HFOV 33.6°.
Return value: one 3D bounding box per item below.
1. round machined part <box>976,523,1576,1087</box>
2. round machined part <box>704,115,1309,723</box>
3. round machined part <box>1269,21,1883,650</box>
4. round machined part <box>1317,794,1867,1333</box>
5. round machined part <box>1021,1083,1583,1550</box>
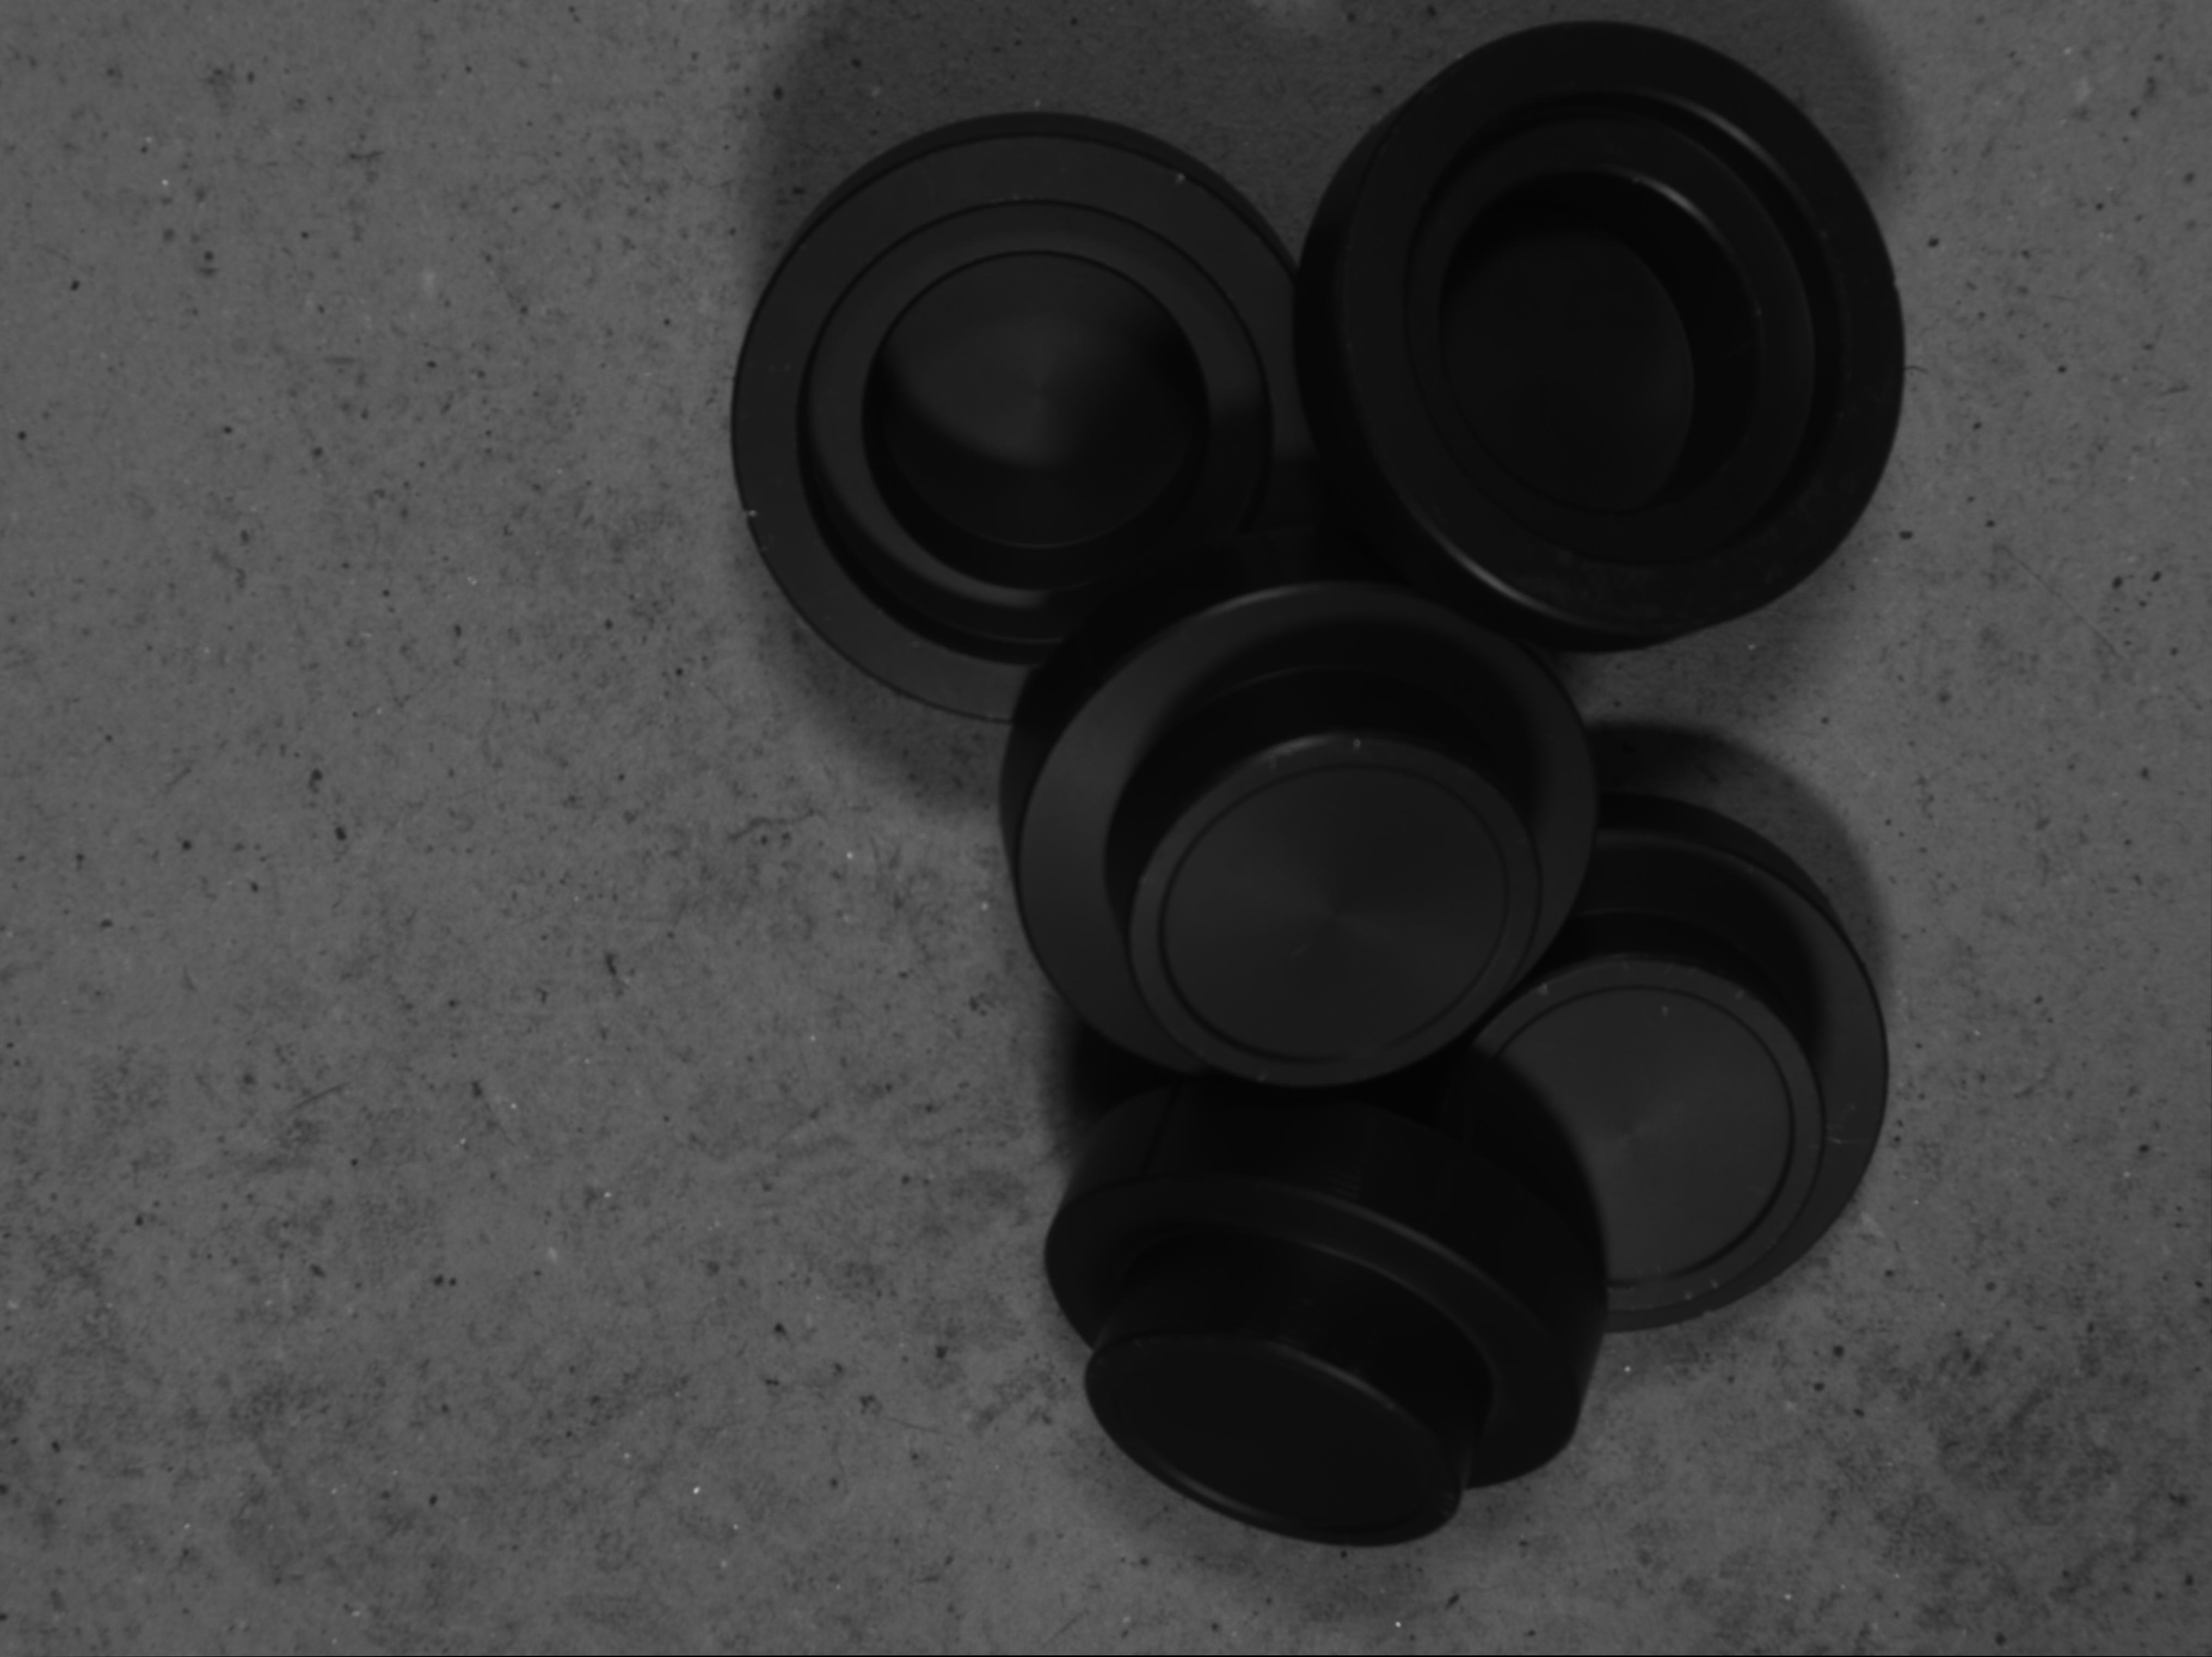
[{"bbox_3d":[0.030,0.003,0.600,0.098,0.042,0.098,-4,121,-7],"label":"round machined part"},{"bbox_3d":[-0.016,-0.070,0.608,0.098,0.042,0.098,0,110,-1],"label":"round machined part"},{"bbox_3d":[0.072,-0.077,0.592,0.098,0.042,0.098,2,83,-18],"label":"round machined part"},{"bbox_3d":[0.087,0.047,0.652,0.098,0.042,0.098,0,110,-1],"label":"round machined part"},{"bbox_3d":[0.031,0.090,0.641,0.098,0.042,0.098,16,145,11],"label":"round machined part"}]
